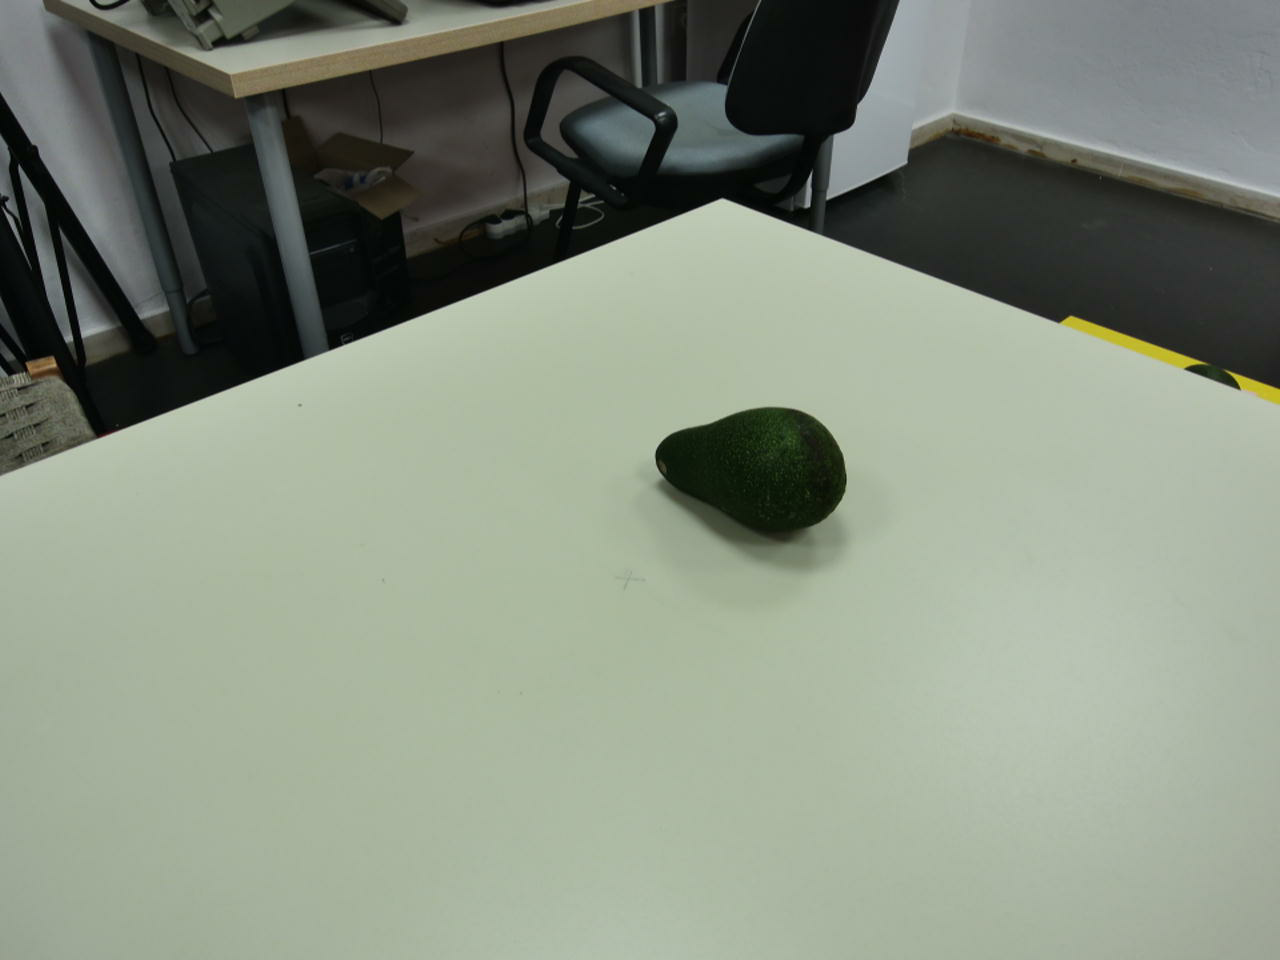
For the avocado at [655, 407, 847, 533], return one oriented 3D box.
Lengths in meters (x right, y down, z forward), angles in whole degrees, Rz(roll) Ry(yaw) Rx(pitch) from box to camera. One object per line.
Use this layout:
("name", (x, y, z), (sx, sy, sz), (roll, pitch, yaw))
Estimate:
("avocado", (0.071, -0.014, 0.600), (0.074, 0.076, 0.123), (-23, 42, -27))
